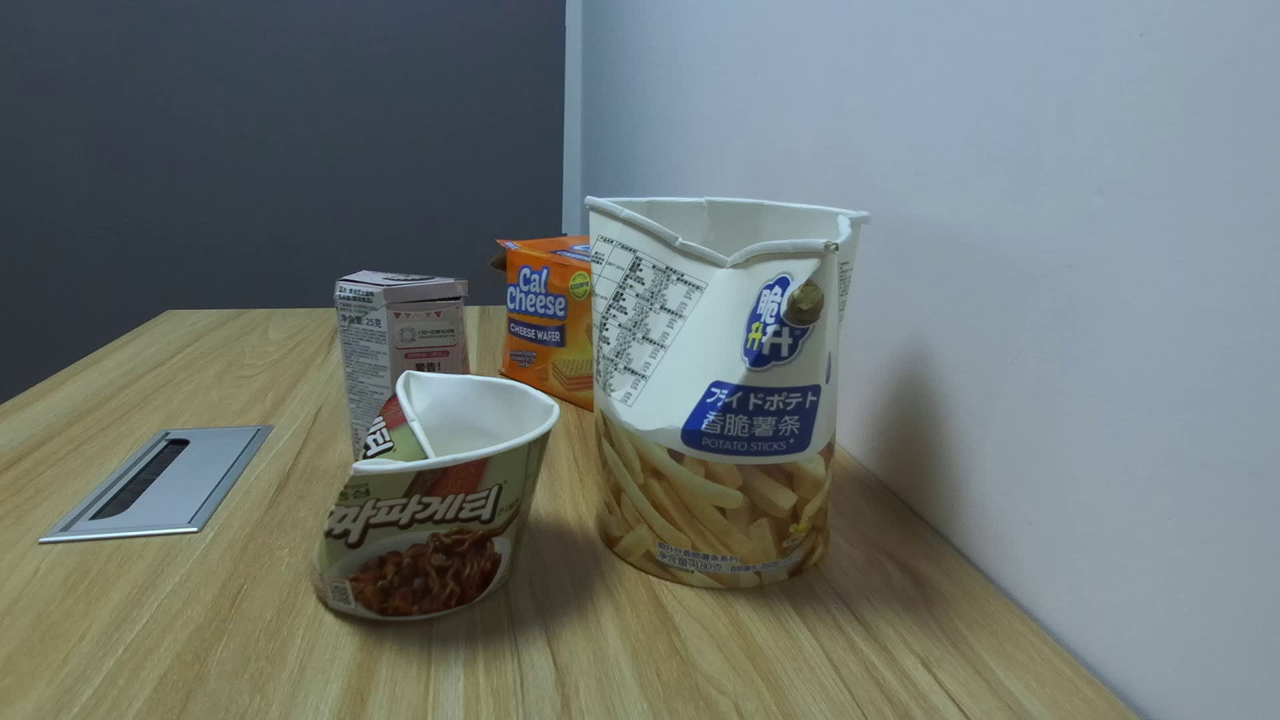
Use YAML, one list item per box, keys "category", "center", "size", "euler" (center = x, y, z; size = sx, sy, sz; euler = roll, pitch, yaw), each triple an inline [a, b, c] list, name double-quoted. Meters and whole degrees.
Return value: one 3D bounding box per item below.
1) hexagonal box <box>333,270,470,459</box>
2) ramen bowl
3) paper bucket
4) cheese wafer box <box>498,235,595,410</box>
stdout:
- category: "hexagonal box"
  center: [-0.168, 0.004, 0.516]
  size: [0.092, 0.135, 0.084]
  euler: [-9, 20, -29]
- category: "ramen bowl"
  center: [-0.113, 0.071, 0.379]
  size: [0.137, 0.098, 0.137]
  euler: [3, 21, -1]
- category: "paper bucket"
  center: [0.040, 0.008, 0.426]
  size: [0.162, 0.202, 0.169]
  euler: [8, 17, 20]
- category: "cheese wafer box"
  center: [-0.018, -0.044, 0.690]
  size: [0.226, 0.137, 0.150]
  euler: [15, 23, 38]
